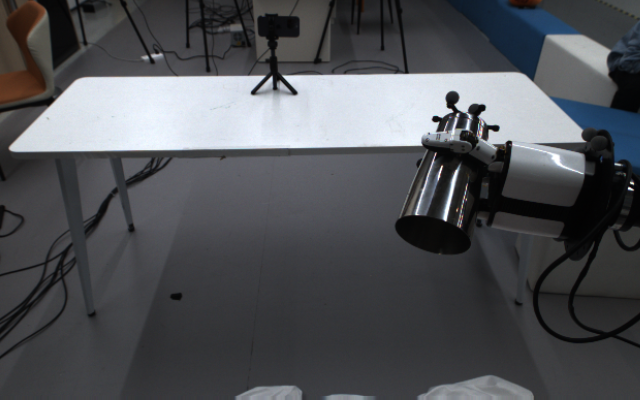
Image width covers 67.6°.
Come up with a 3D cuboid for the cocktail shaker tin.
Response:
[{"bbox_3d":[0.164,-0.028,0.611,0.093,0.093,0.170,14,62,17],"label":"cocktail shaker tin"}]
